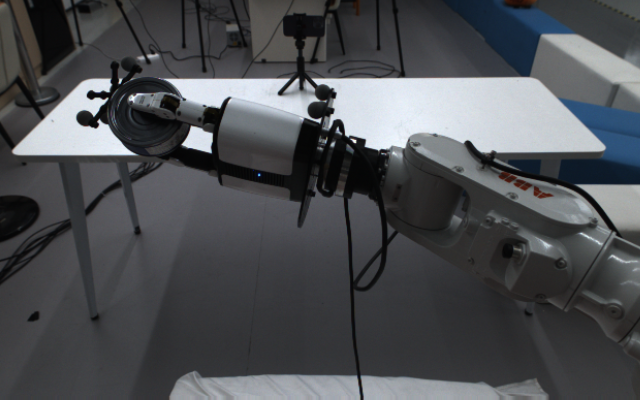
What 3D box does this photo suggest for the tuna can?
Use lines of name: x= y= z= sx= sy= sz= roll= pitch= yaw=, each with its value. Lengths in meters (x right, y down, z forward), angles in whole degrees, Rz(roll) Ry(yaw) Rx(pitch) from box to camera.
tuna can: x=-0.188 y=-0.090 z=0.544 sx=0.085 sy=0.034 sz=0.085 roll=1 pitch=78 yaw=-6
